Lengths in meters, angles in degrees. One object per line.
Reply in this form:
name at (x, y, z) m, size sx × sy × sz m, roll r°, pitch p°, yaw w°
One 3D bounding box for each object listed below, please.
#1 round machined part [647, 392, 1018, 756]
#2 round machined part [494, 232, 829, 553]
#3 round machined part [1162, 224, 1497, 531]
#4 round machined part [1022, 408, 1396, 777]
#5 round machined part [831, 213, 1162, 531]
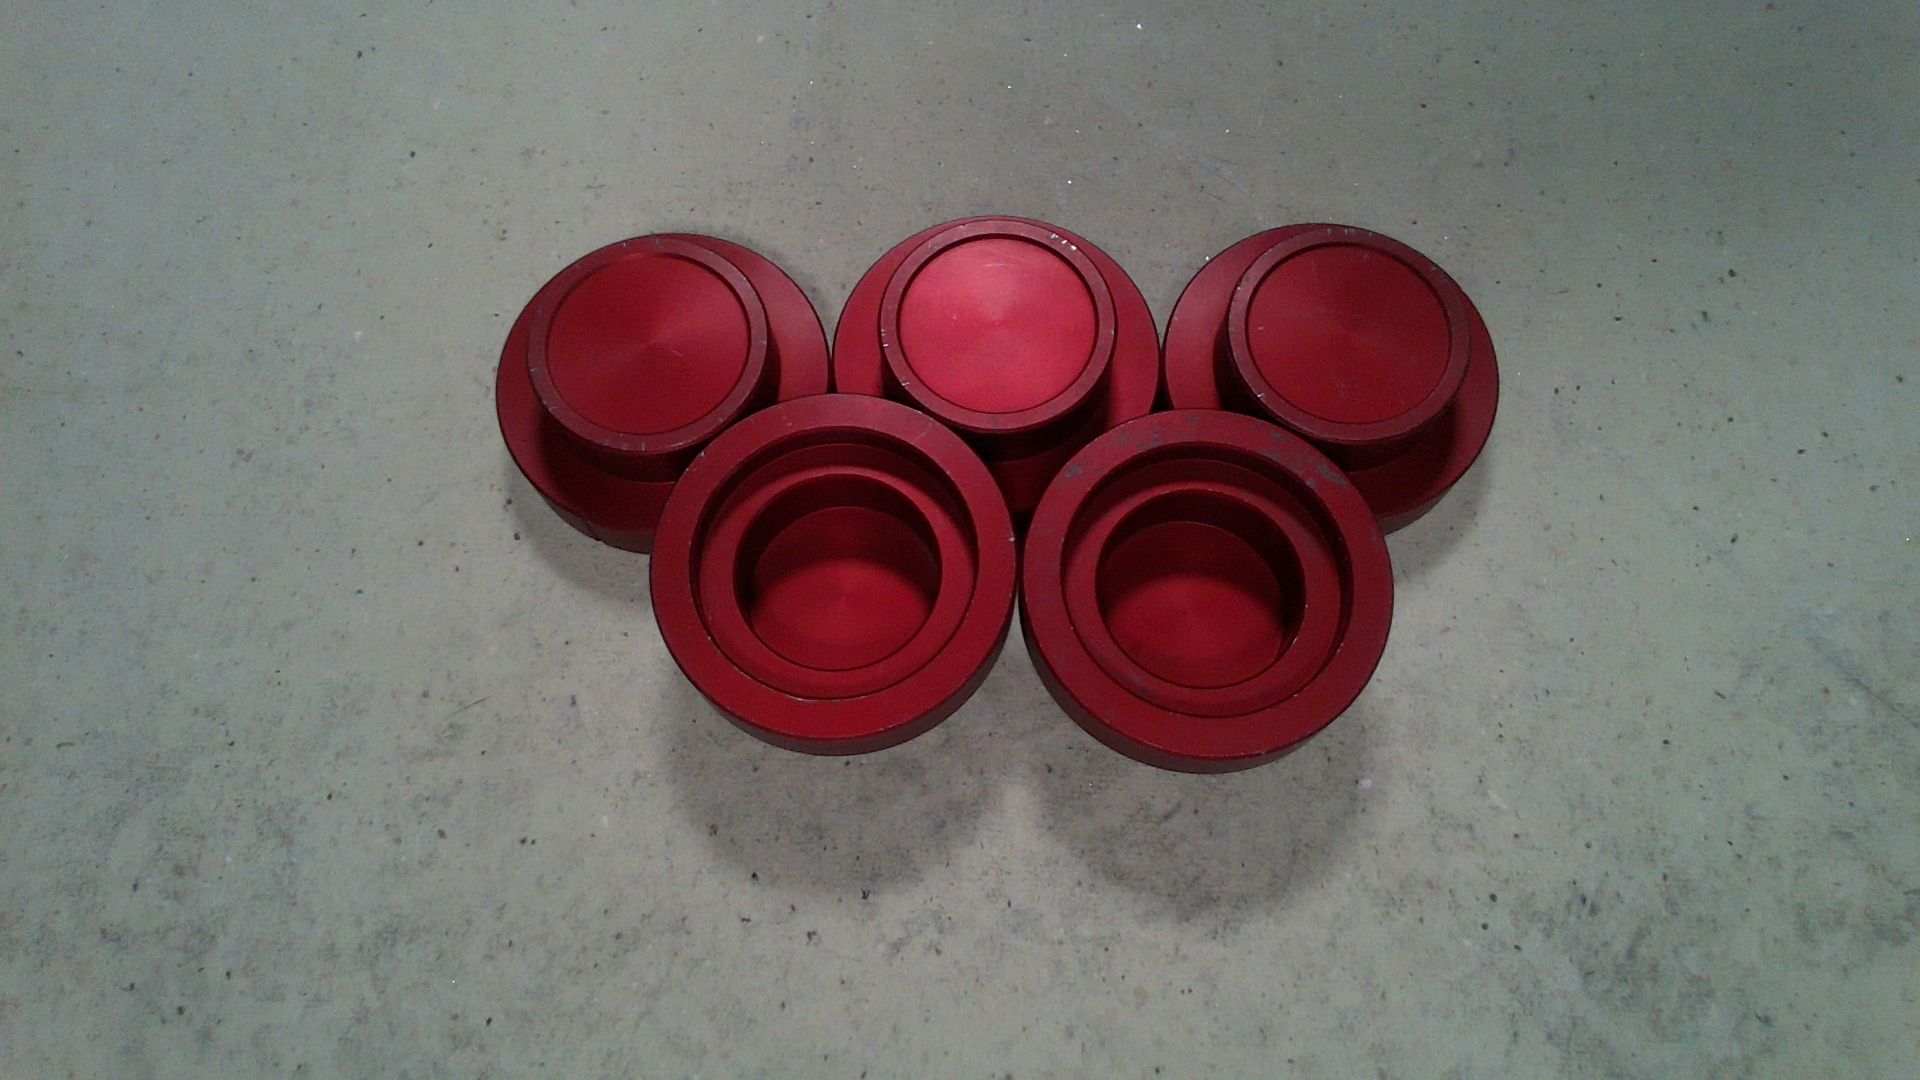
round machined part at (-0.033, 0.012, 0.381) m, size 0.098 × 0.042 × 0.098 m, roll 0°, pitch 70°, yaw 0°
round machined part at (-0.088, -0.049, 0.403) m, size 0.098 × 0.042 × 0.098 m, roll 0°, pitch 70°, yaw 0°
round machined part at (0.109, -0.052, 0.405) m, size 0.098 × 0.042 × 0.098 m, roll 0°, pitch 70°, yaw 0°
round machined part at (0.065, 0.017, 0.380) m, size 0.098 × 0.042 × 0.098 m, roll 0°, pitch 70°, yaw 0°
round machined part at (0.011, -0.055, 0.406) m, size 0.098 × 0.042 × 0.098 m, roll 0°, pitch 70°, yaw 0°
